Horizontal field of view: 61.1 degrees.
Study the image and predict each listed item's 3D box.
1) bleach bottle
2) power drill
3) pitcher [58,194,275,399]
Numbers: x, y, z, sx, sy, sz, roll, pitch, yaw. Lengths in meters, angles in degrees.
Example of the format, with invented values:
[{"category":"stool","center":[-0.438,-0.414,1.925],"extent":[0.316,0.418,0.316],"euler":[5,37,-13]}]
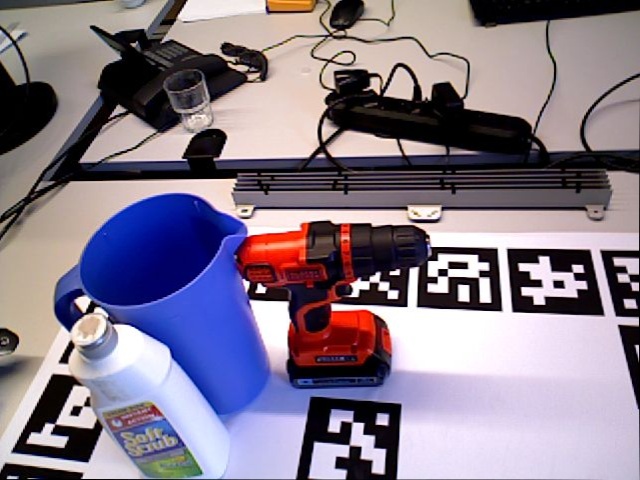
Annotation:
[{"category":"bleach bottle","center":[-0.157,0.130,0.469],"extent":[0.102,0.255,0.067],"euler":[-6,48,7]},{"category":"power drill","center":[0.037,0.059,0.526],"extent":[0.184,0.190,0.056],"euler":[0,51,4]},{"category":"pitcher","center":[-0.130,0.067,0.544],"extent":[0.187,0.247,0.132],"euler":[-20,49,-6]}]
